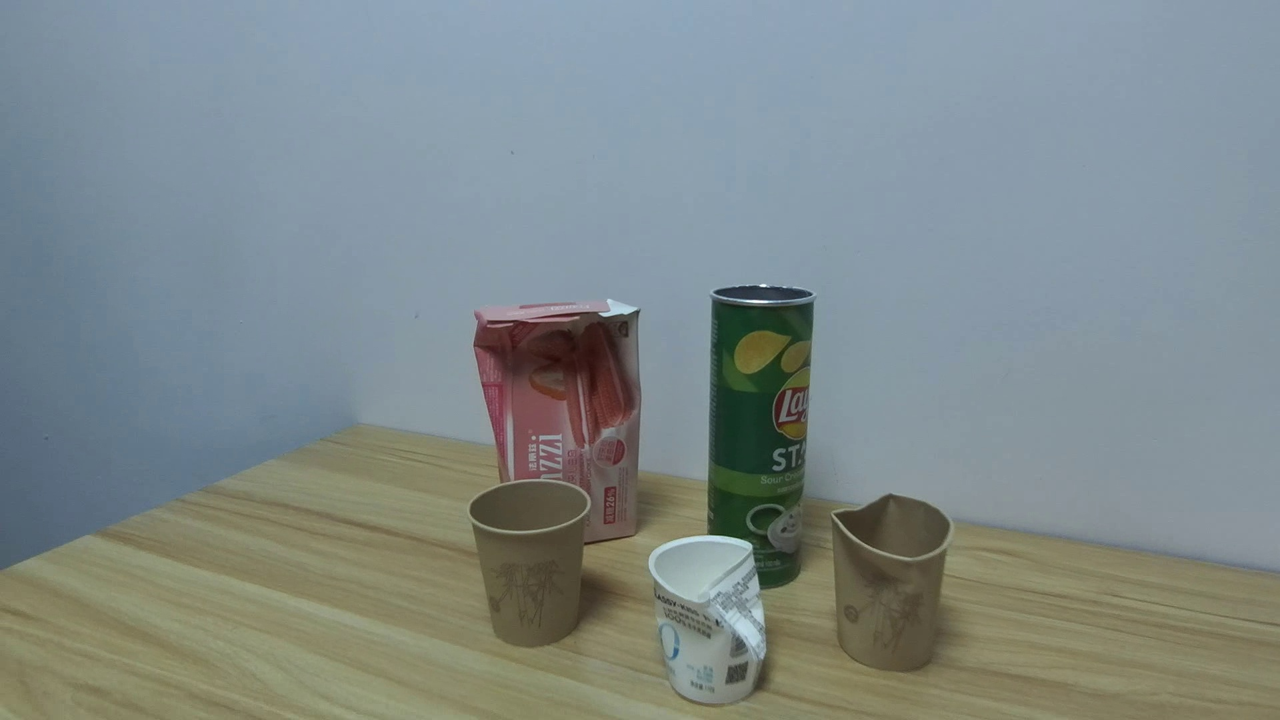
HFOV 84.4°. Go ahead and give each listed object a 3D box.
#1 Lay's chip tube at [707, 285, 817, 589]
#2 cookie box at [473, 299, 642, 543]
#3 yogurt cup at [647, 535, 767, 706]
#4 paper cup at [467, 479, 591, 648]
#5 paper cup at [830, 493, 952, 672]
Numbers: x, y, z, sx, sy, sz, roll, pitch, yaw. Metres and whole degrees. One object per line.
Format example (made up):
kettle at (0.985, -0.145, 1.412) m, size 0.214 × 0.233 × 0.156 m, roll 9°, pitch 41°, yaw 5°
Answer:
Lay's chip tube at (0.082, 0.051, 0.490) m, size 0.071 × 0.202 × 0.071 m, roll -1°, pitch 16°, yaw 0°
cookie box at (-0.059, 0.050, 0.538) m, size 0.119 × 0.184 × 0.055 m, roll -5°, pitch 16°, yaw -11°
yogurt cup at (0.038, 0.144, 0.393) m, size 0.067 × 0.070 × 0.067 m, roll -1°, pitch 16°, yaw 1°
paper cup at (-0.066, 0.127, 0.440) m, size 0.075 × 0.082 × 0.075 m, roll 0°, pitch 15°, yaw 0°
paper cup at (0.150, 0.131, 0.415) m, size 0.072 × 0.084 × 0.066 m, roll -10°, pitch 16°, yaw -34°
